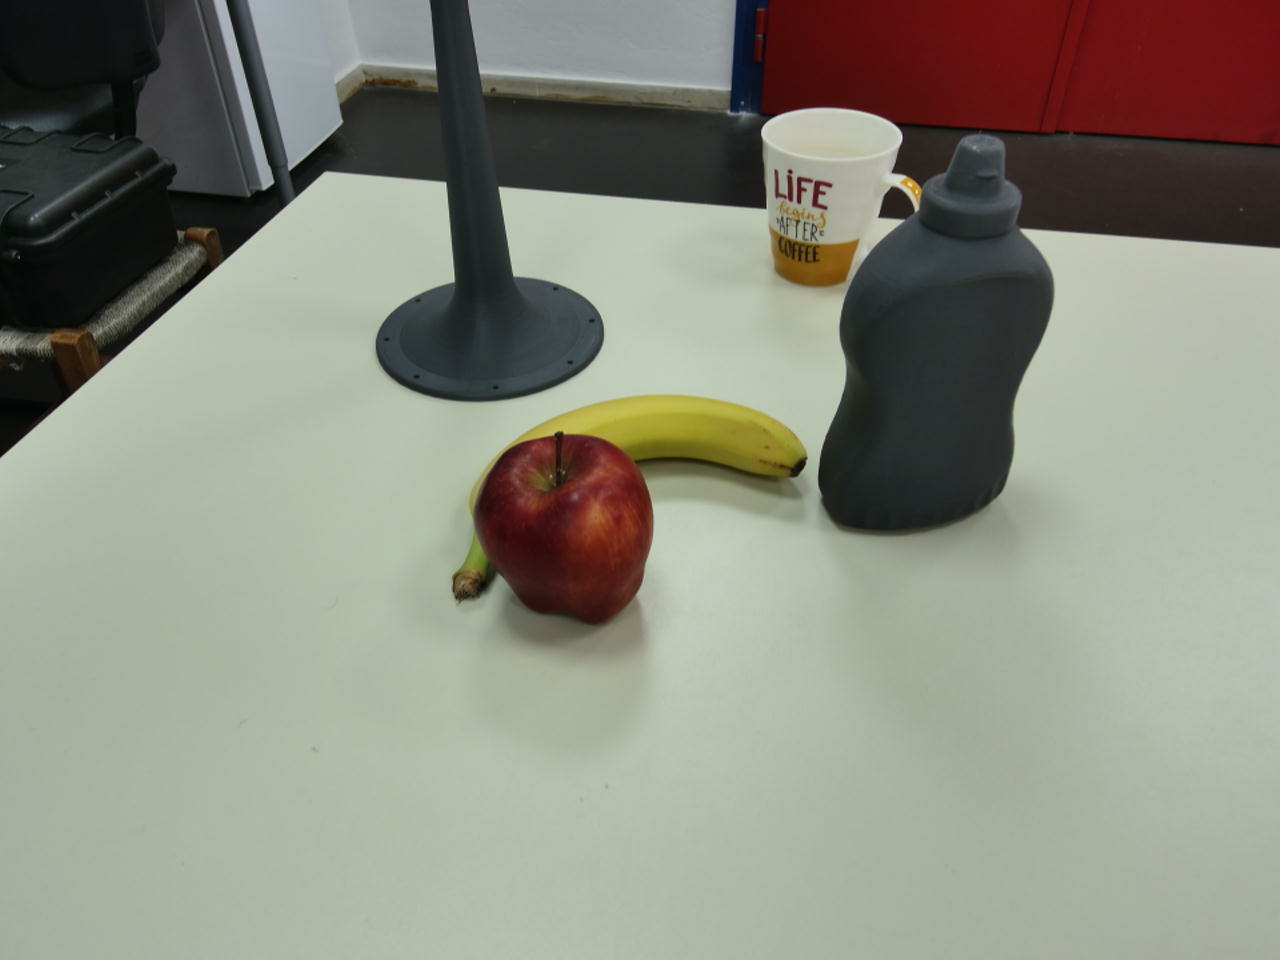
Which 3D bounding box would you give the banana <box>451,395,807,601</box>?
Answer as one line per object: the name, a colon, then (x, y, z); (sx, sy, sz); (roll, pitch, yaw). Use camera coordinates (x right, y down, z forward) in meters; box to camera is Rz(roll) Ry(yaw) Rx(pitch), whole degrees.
banana: (-0.015, -0.007, 0.530); (0.196, 0.041, 0.094); (-15, 41, -18)
